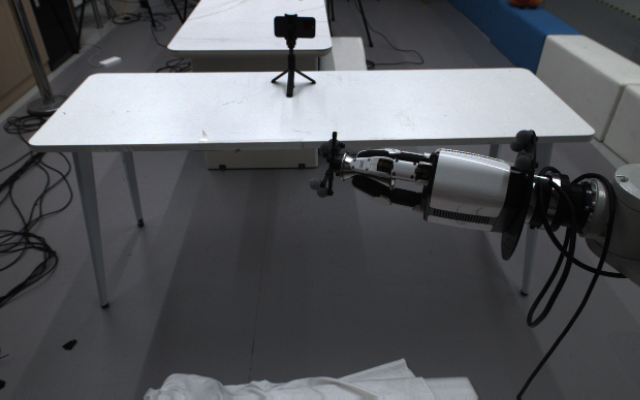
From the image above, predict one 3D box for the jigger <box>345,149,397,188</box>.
[{"bbox_3d":[0.070,-0.043,0.636,0.071,0.043,0.043,10,35,16],"label":"jigger"}]
